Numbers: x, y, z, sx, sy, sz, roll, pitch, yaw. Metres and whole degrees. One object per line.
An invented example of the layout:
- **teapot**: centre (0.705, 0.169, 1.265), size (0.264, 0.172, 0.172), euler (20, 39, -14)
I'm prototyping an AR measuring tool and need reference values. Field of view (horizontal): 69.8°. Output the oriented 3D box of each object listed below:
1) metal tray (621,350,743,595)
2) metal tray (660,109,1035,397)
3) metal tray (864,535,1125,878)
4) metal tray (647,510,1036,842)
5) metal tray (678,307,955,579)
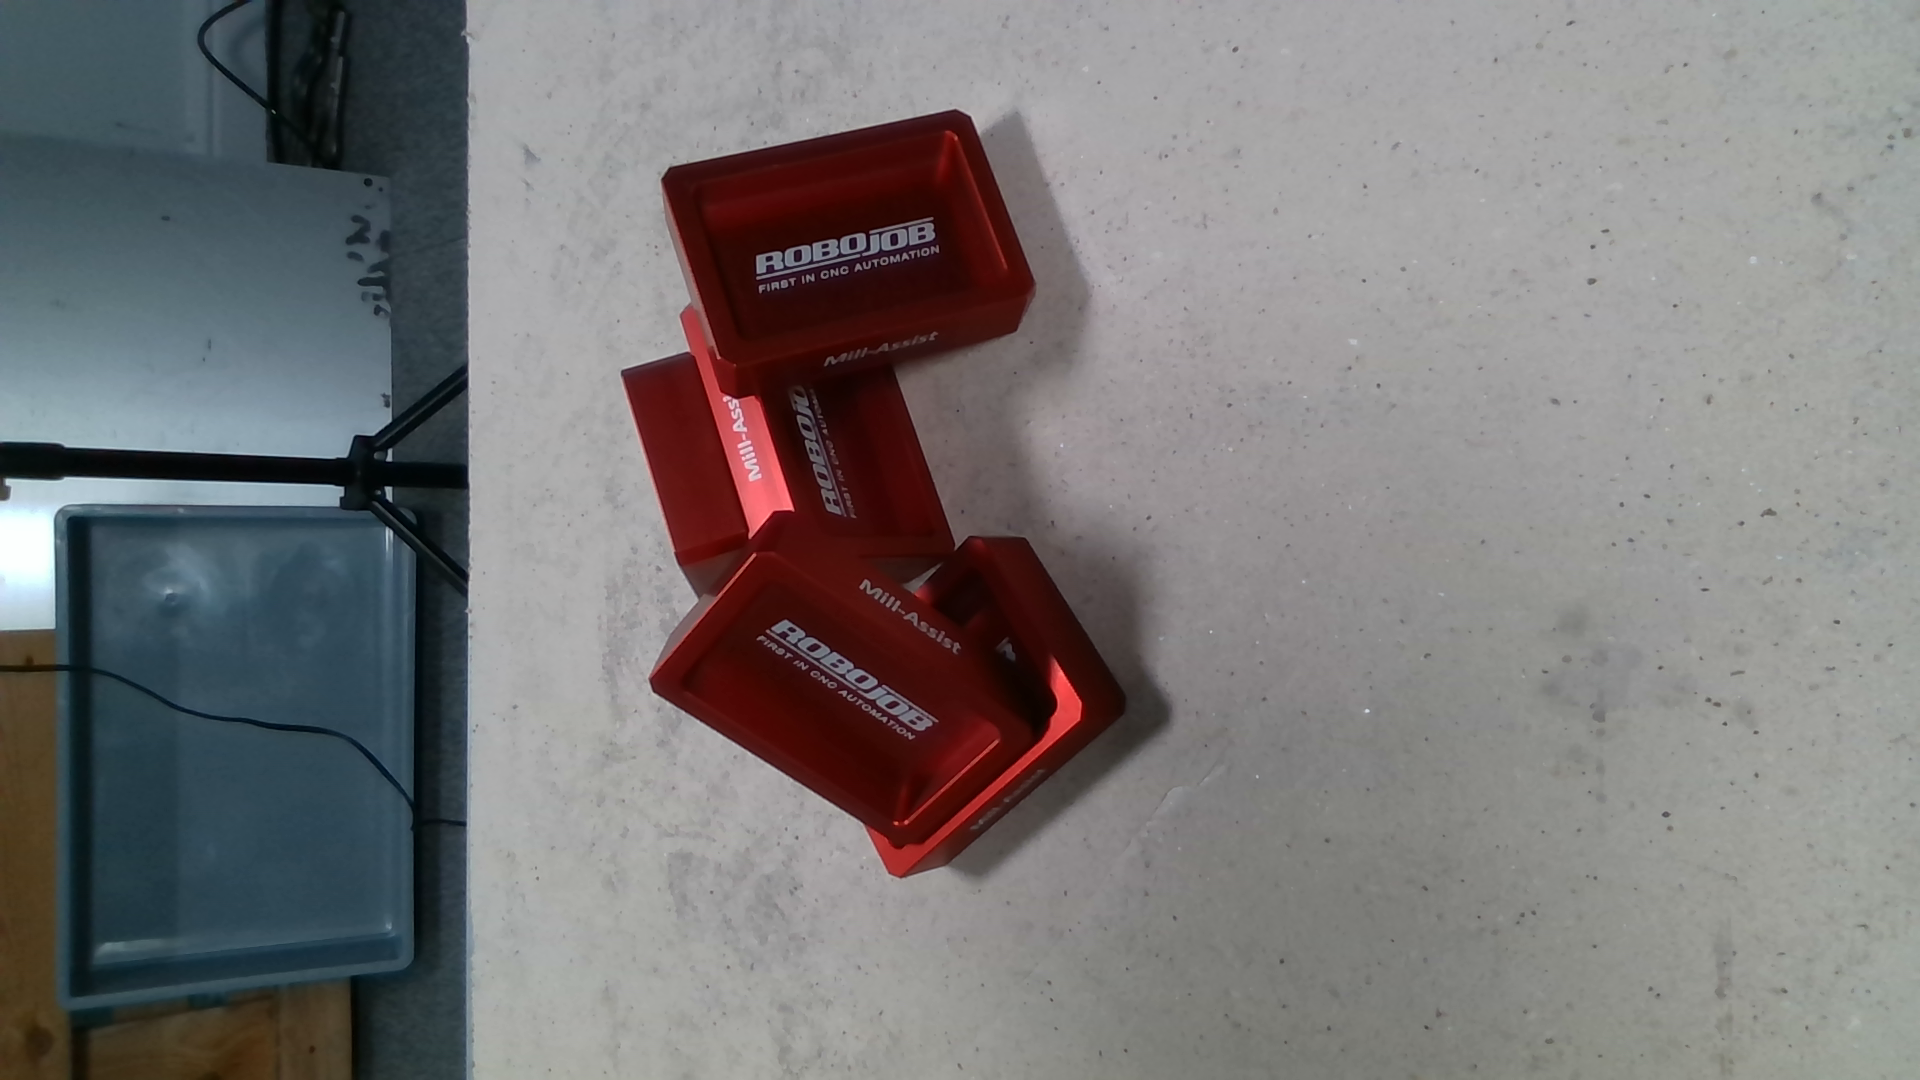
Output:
- **metal tray**: centre (-0.116, -0.017, 0.623), size (0.130, 0.030, 0.090), euler (97, 155, -73)
- **metal tray**: centre (-0.046, -0.117, 0.558), size (0.030, 0.130, 0.090), euler (114, 139, -70)
- **metal tray**: centre (-0.002, 0.071, 0.581), size (0.130, 0.030, 0.090), euler (-46, 63, 31)
- **metal tray**: centre (-0.046, 0.057, 0.548), size (0.130, 0.030, 0.090), euler (35, 122, -15)
- **metal tray**: centre (-0.060, -0.046, 0.590), size (0.030, 0.090, 0.130), euler (-31, 71, 36)
